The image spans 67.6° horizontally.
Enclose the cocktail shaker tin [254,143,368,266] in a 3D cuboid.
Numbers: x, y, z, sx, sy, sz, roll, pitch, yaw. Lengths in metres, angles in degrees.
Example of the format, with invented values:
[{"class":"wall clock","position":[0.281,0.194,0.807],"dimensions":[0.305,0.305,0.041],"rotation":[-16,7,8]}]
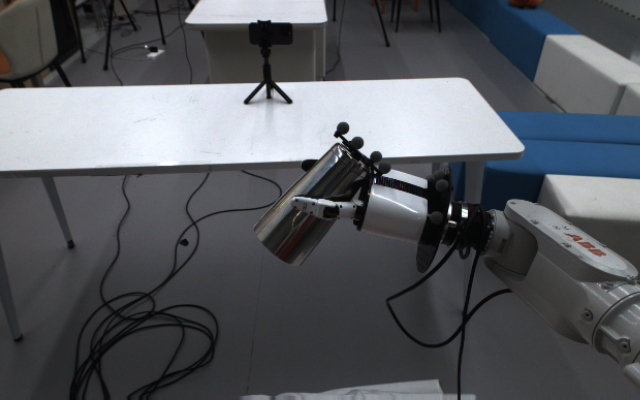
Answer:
[{"class":"cocktail shaker tin","position":[-0.007,-0.001,0.698],"dimensions":[0.093,0.170,0.093],"rotation":[41,12,-11]}]
